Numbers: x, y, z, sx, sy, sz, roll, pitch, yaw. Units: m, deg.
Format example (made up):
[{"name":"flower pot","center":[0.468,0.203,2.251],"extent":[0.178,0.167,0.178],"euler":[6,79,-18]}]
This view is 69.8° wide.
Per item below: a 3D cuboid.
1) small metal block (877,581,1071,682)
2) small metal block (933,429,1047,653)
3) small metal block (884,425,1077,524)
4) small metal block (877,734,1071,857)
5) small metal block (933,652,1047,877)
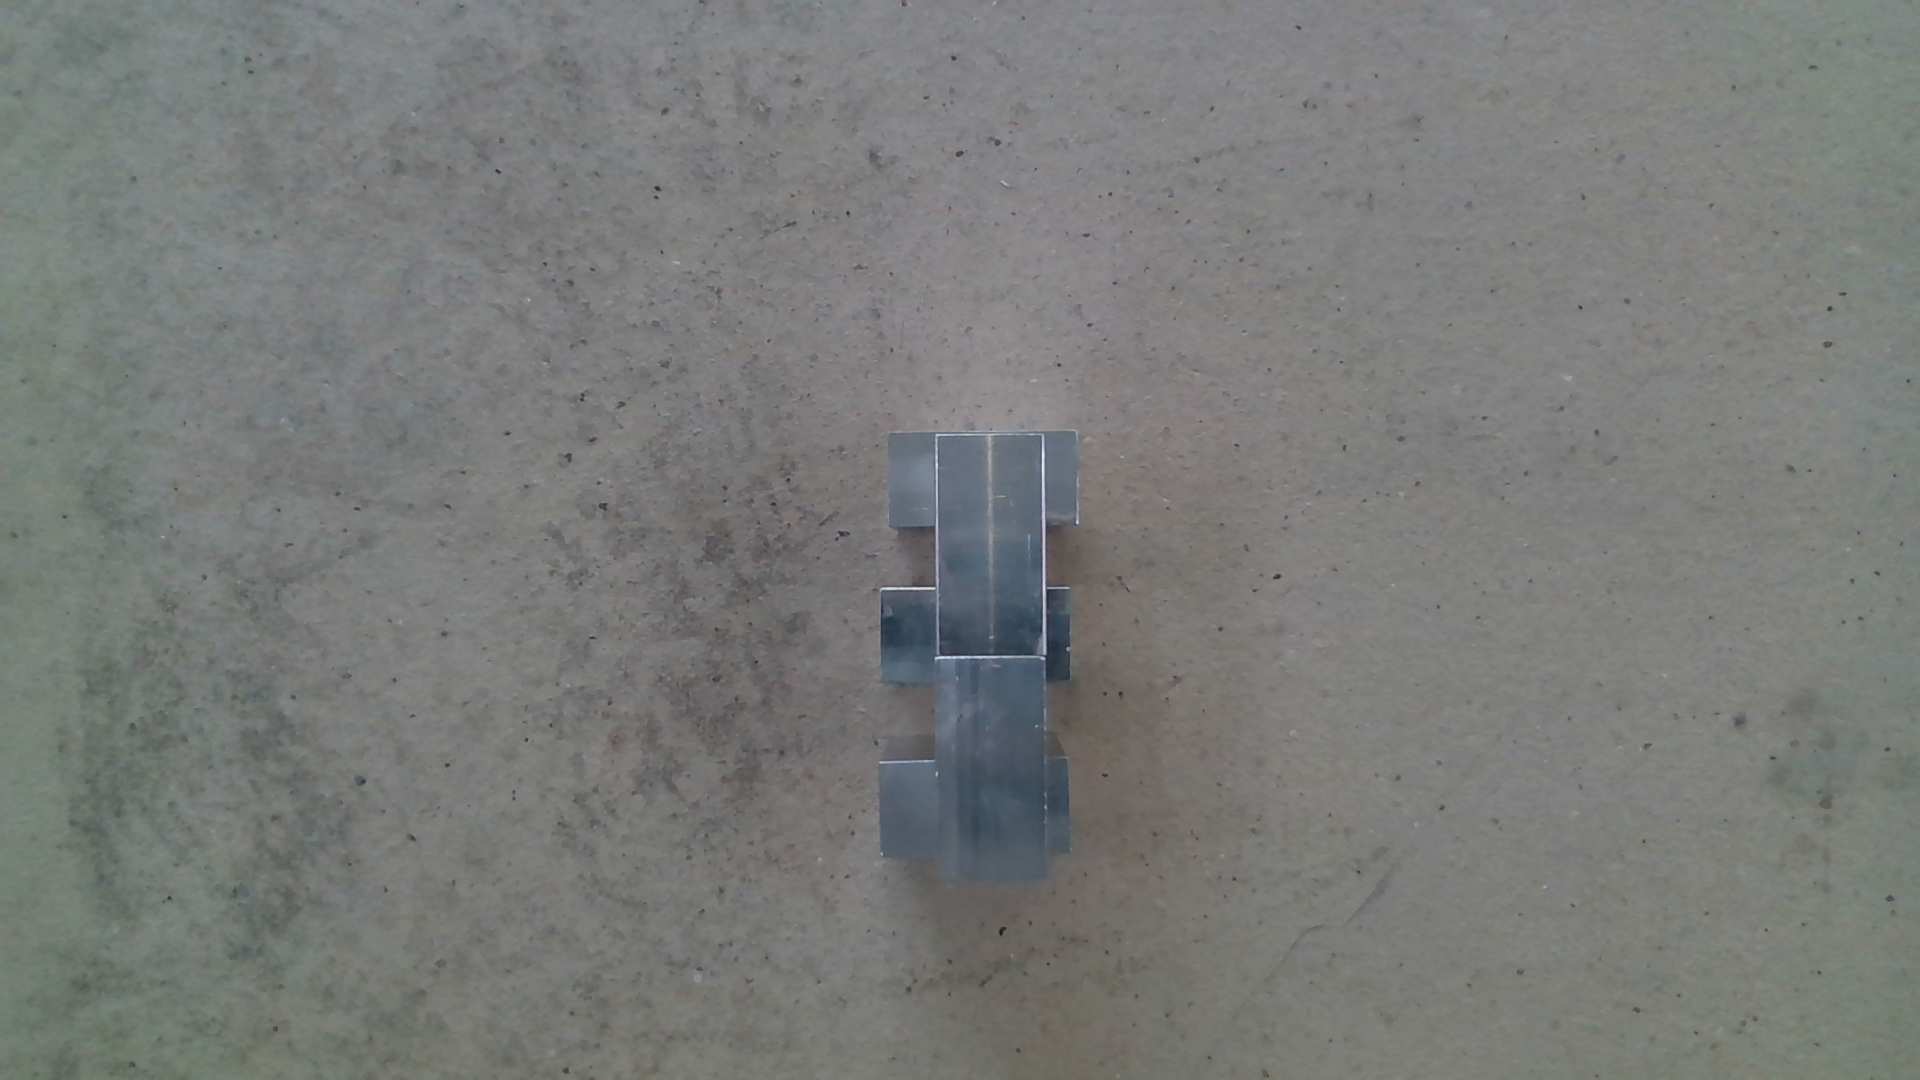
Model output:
[{"name":"small metal block","center":[0.004,0.024,0.384],"extent":[0.050,0.050,0.025],"euler":[-1,89,0]},{"name":"small metal block","center":[0.007,0.000,0.334],"extent":[0.025,0.050,0.050],"euler":[-1,90,0]},{"name":"small metal block","center":[0.005,-0.017,0.382],"extent":[0.050,0.050,0.025],"euler":[-1,89,0]},{"name":"small metal block","center":[0.003,0.070,0.384],"extent":[0.050,0.050,0.025],"euler":[-1,89,0]},{"name":"small metal block","center":[0.007,0.050,0.333],"extent":[0.025,0.050,0.050],"euler":[-1,90,0]}]
